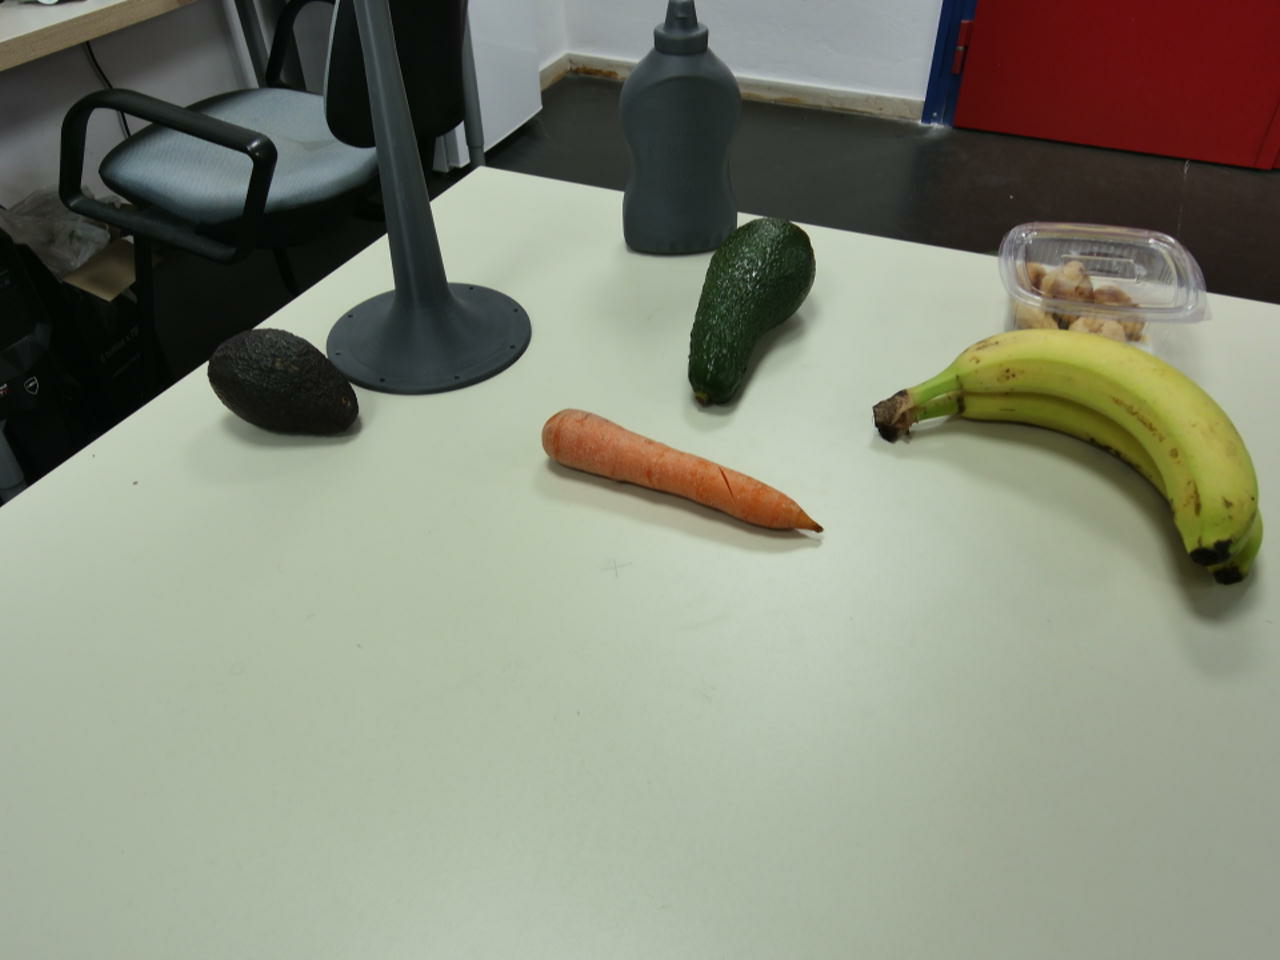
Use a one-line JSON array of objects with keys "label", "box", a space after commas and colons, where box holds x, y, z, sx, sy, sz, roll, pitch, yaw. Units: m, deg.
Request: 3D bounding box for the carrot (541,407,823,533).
[{"label": "carrot", "box": [0.026, -0.007, 0.643, 0.196, 0.041, 0.039, 16, 41, 19]}]
